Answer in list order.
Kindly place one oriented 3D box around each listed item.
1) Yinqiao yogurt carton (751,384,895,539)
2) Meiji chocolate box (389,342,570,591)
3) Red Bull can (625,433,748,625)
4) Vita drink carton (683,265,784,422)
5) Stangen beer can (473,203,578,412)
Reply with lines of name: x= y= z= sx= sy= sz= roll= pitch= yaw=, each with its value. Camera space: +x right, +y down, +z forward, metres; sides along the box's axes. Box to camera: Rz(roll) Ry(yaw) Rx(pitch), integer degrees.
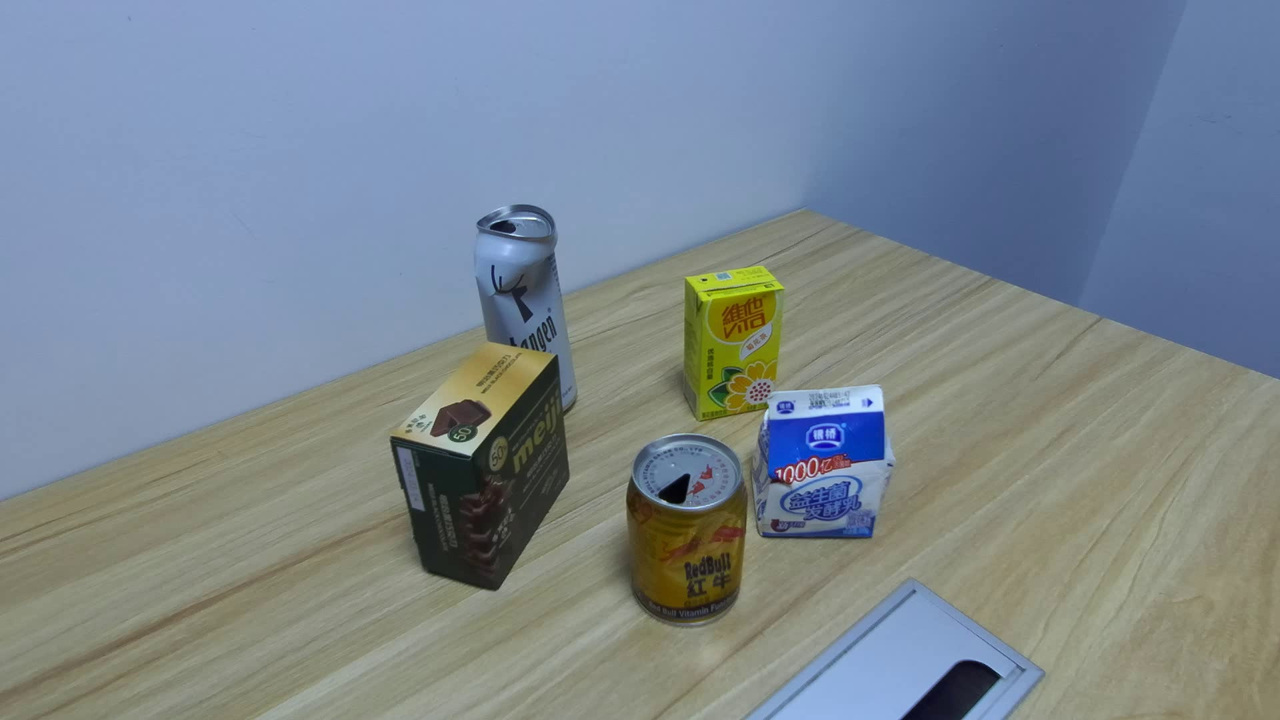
Yinqiao yogurt carton: x=0.117 y=0.055 z=0.453 sx=0.083 sy=0.093 sz=0.077 roll=0 pitch=34 yaw=4
Meiji chocolate box: x=-0.093 y=0.064 z=0.444 sx=0.056 sy=0.109 sz=0.110 roll=10 pitch=35 yaw=17
Red Bull can: x=0.026 y=0.096 z=0.400 sx=0.069 sy=0.092 sz=0.069 roll=-1 pitch=33 yaw=1
Vita drink carton: x=0.070 y=-0.012 z=0.544 sx=0.067 sy=0.109 sz=0.043 roll=-10 pitch=34 yaw=-12
Stangen beer can: x=-0.086 y=-0.031 z=0.538 sx=0.066 sy=0.162 sz=0.077 roll=-12 pitch=36 yaw=-13
